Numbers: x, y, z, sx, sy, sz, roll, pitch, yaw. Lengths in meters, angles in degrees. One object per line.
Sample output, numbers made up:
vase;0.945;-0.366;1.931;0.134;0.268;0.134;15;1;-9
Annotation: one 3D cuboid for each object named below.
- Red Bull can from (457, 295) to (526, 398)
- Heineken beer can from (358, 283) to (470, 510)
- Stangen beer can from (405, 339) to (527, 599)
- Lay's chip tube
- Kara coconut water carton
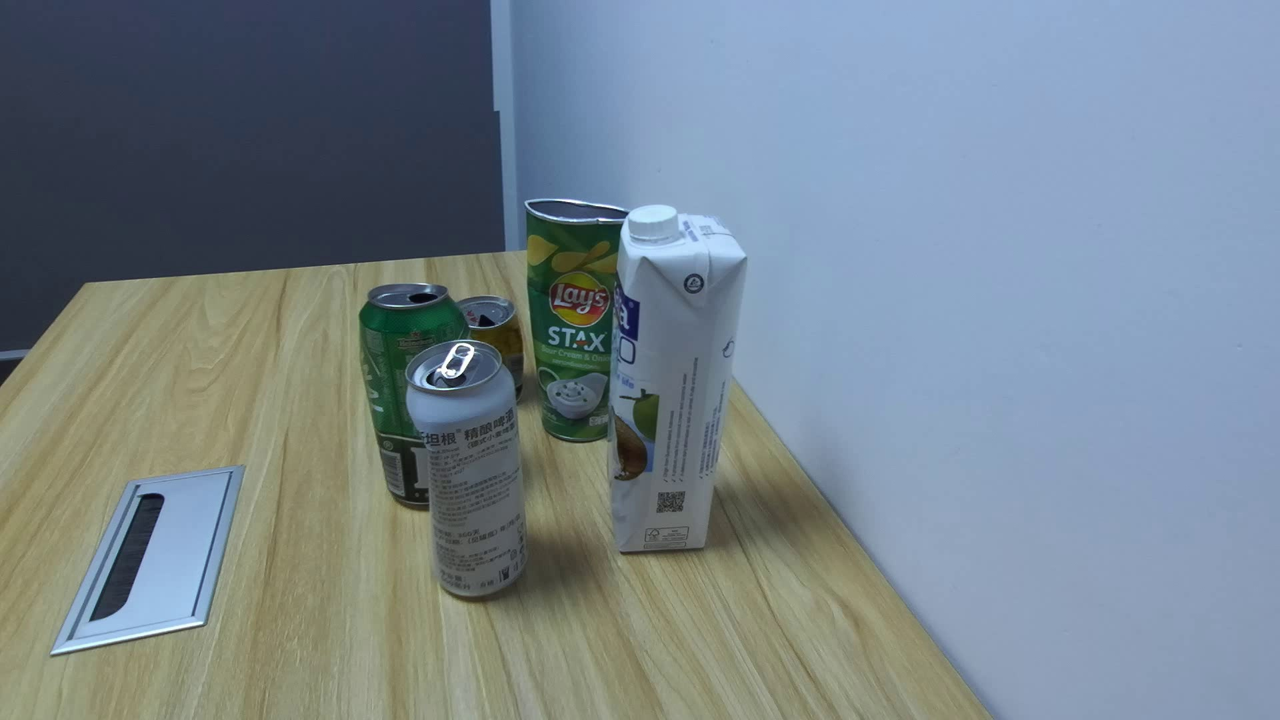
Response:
Red Bull can;-0.143;-0.006;0.653;0.072;0.092;0.072;2;32;-1
Heineken beer can;-0.165;0.027;0.532;0.069;0.168;0.068;-21;37;-38
Stangen beer can;-0.111;0.071;0.453;0.069;0.173;0.070;23;37;31
Lay's chip tube;-0.049;-0.030;0.591;0.075;0.199;0.068;-11;32;-21
Kara coconut water carton;0.019;0.017;0.478;0.075;0.245;0.077;-1;31;-10
